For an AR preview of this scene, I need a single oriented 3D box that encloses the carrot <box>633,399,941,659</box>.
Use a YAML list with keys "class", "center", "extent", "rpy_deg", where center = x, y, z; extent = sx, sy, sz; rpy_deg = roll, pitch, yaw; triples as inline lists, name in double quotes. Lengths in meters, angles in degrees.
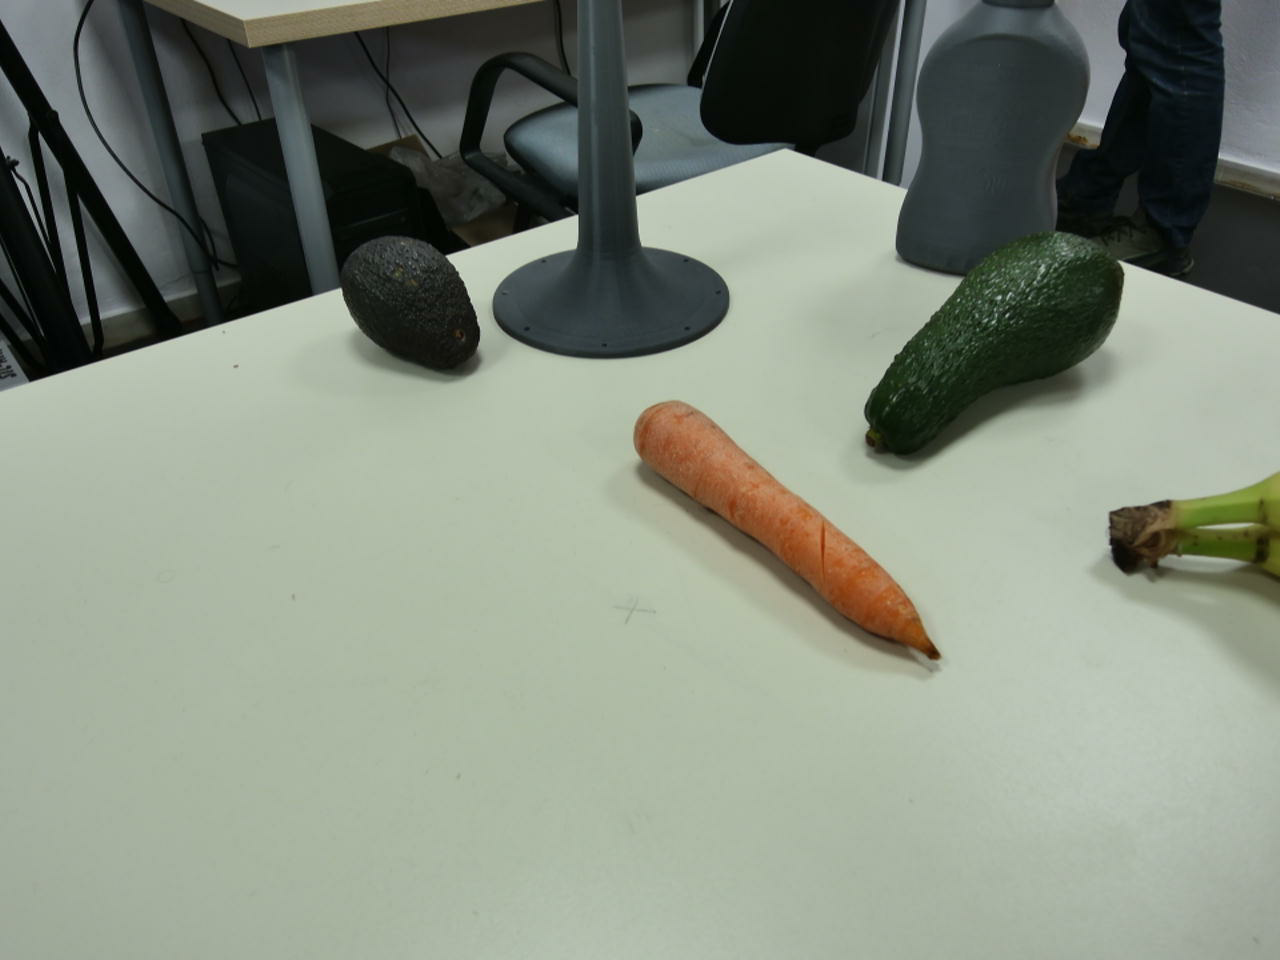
- class: "carrot"
  center: [0.064, 0.015, 0.462]
  extent: [0.039, 0.041, 0.196]
  rpy_deg: [-23, 42, -30]
